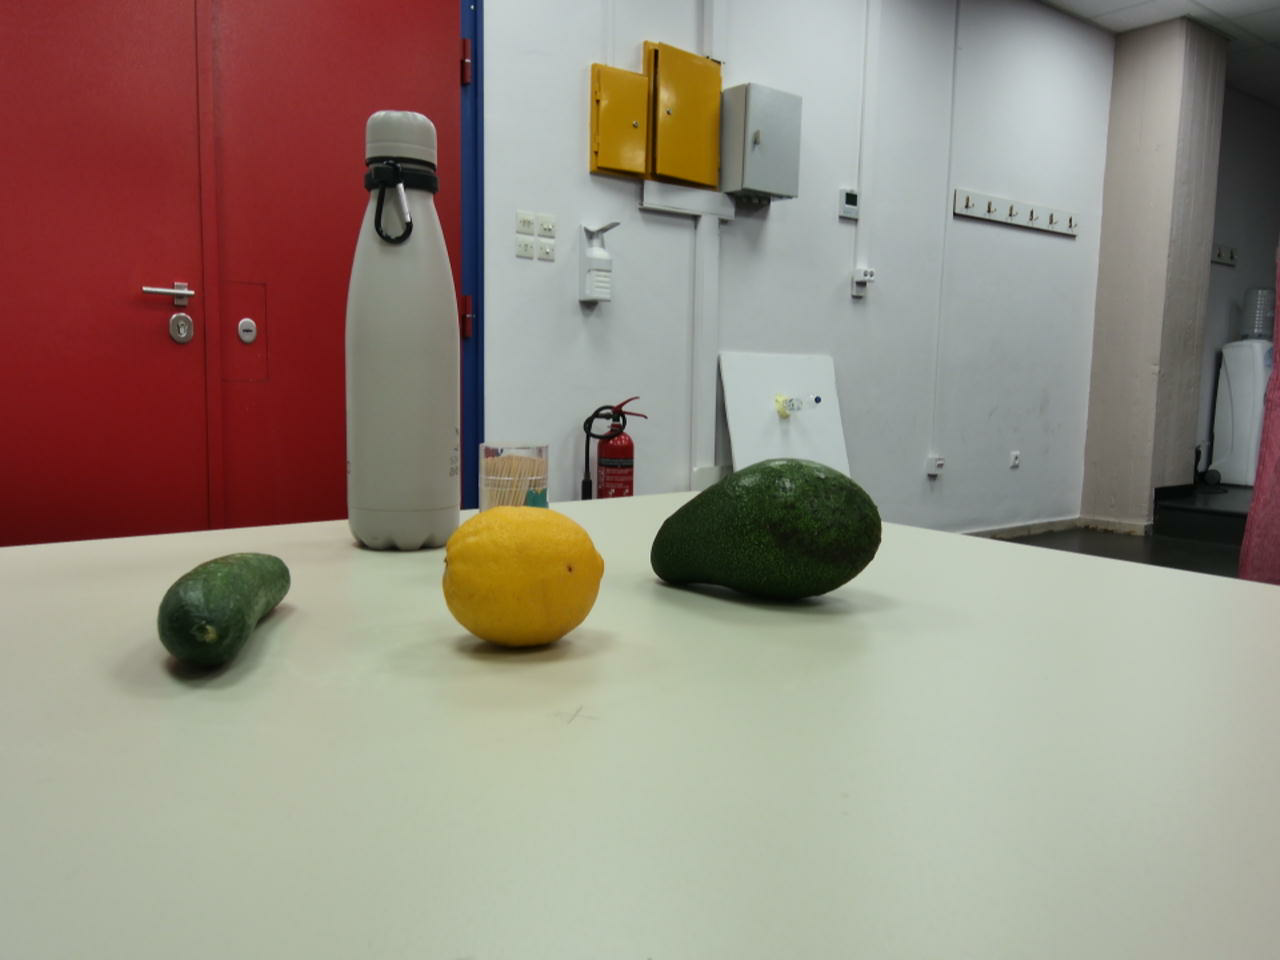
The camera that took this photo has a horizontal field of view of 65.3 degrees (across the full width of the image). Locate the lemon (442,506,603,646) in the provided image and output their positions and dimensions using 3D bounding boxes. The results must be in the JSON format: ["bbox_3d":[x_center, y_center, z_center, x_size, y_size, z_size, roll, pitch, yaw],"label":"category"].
[{"bbox_3d":[-0.051,0.041,0.428,0.067,0.059,0.061,0,4,4],"label":"lemon"}]
